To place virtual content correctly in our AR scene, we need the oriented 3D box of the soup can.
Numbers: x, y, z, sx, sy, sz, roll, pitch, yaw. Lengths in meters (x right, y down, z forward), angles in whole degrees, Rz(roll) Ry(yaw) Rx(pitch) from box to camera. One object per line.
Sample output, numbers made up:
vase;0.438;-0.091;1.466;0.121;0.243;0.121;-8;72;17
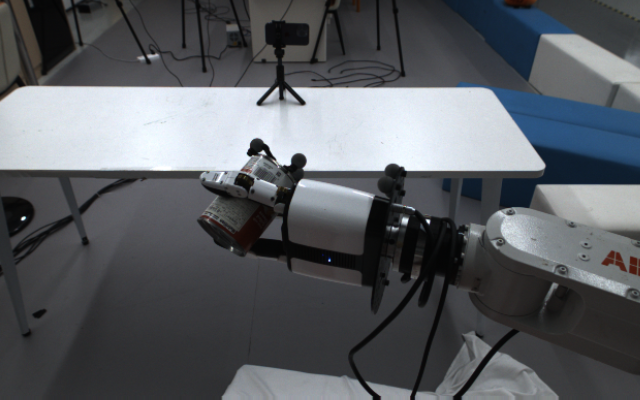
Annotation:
soup can;-0.081;0.005;0.556;0.067;0.067;0.101;25;66;30
